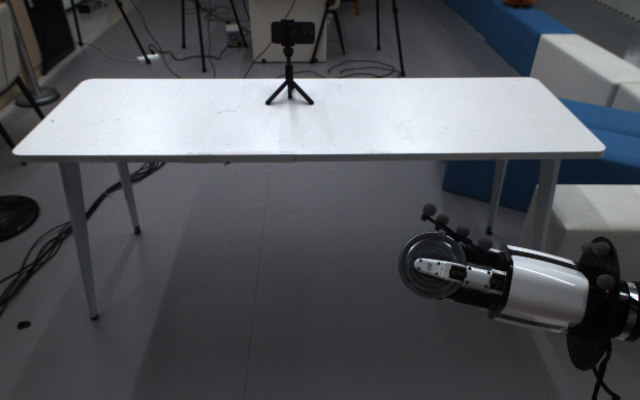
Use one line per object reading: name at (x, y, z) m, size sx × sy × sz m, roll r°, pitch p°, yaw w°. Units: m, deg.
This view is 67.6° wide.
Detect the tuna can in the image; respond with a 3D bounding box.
tuna can at (0.147, 0.088, 0.614) m, size 0.085 × 0.085 × 0.034 m, roll 13°, pitch -4°, yaw 15°
